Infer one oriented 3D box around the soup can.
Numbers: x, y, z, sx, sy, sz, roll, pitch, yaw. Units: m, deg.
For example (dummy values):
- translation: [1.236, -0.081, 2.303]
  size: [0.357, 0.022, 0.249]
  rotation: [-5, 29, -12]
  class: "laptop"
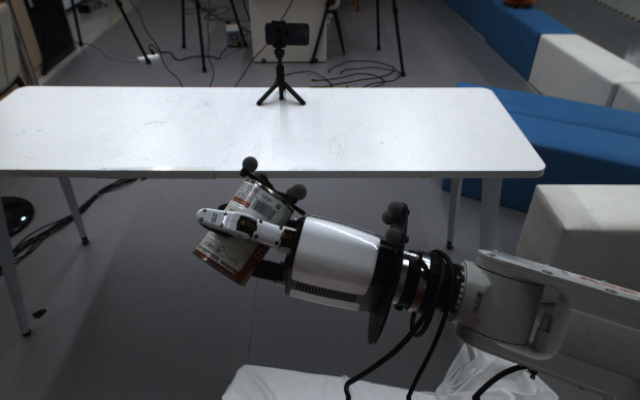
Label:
- translation: [-0.083, 0.035, 0.539]
  size: [0.067, 0.067, 0.101]
  rotation: [27, 76, 31]
  class: "soup can"
